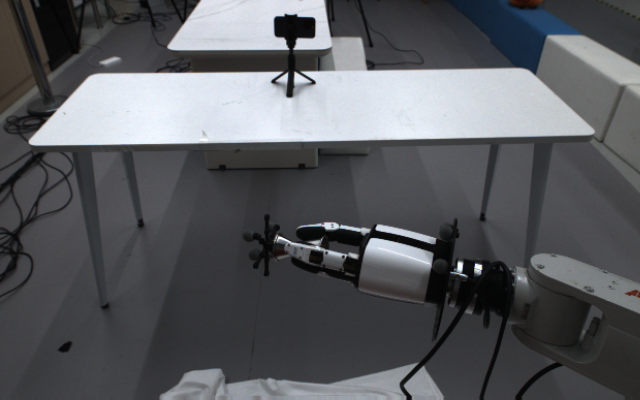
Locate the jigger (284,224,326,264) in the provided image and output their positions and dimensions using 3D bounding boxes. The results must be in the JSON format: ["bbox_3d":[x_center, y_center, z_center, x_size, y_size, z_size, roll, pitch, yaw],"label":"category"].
[{"bbox_3d":[-0.018,0.063,0.668,0.071,0.043,0.043,3,34,17],"label":"jigger"}]
